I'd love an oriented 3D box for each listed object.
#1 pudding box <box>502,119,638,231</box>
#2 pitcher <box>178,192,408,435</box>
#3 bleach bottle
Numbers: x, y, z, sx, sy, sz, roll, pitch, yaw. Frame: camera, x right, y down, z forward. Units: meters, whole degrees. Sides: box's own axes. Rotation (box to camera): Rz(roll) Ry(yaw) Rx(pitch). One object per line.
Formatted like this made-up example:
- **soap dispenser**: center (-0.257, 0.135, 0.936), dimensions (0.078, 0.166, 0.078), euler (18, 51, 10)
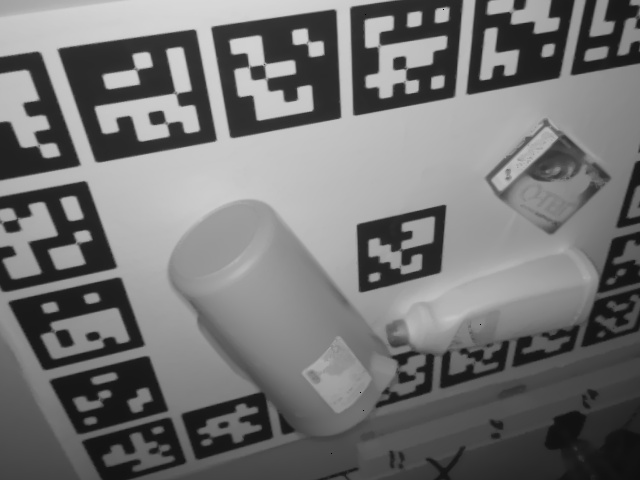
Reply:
- **pudding box**: center (0.261, -0.062, 0.726), dimensions (0.115, 0.039, 0.089), euler (31, 116, -31)
- **pitcher**: center (-0.037, 0.073, 0.689), dimensions (0.186, 0.135, 0.243), euler (-11, 130, 33)
- **bleach bottle**: center (0.220, 0.093, 0.812), dimensions (0.252, 0.068, 0.102), euler (-14, 123, -7)
